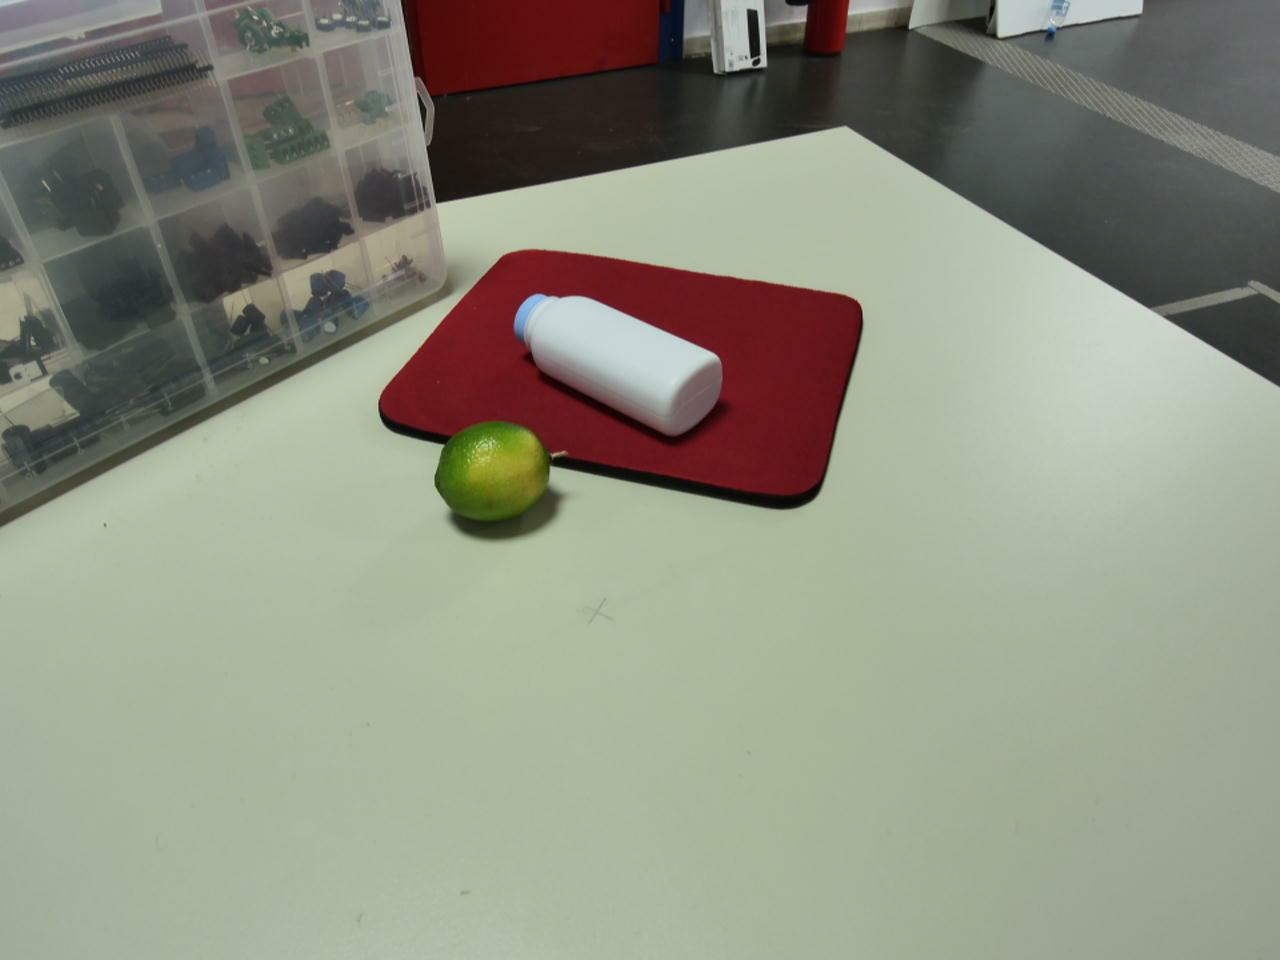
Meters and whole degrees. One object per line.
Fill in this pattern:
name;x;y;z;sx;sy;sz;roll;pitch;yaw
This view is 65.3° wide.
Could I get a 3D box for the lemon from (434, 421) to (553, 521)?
lemon;-0.076;-0.005;0.516;0.055;0.050;0.054;17;41;19
